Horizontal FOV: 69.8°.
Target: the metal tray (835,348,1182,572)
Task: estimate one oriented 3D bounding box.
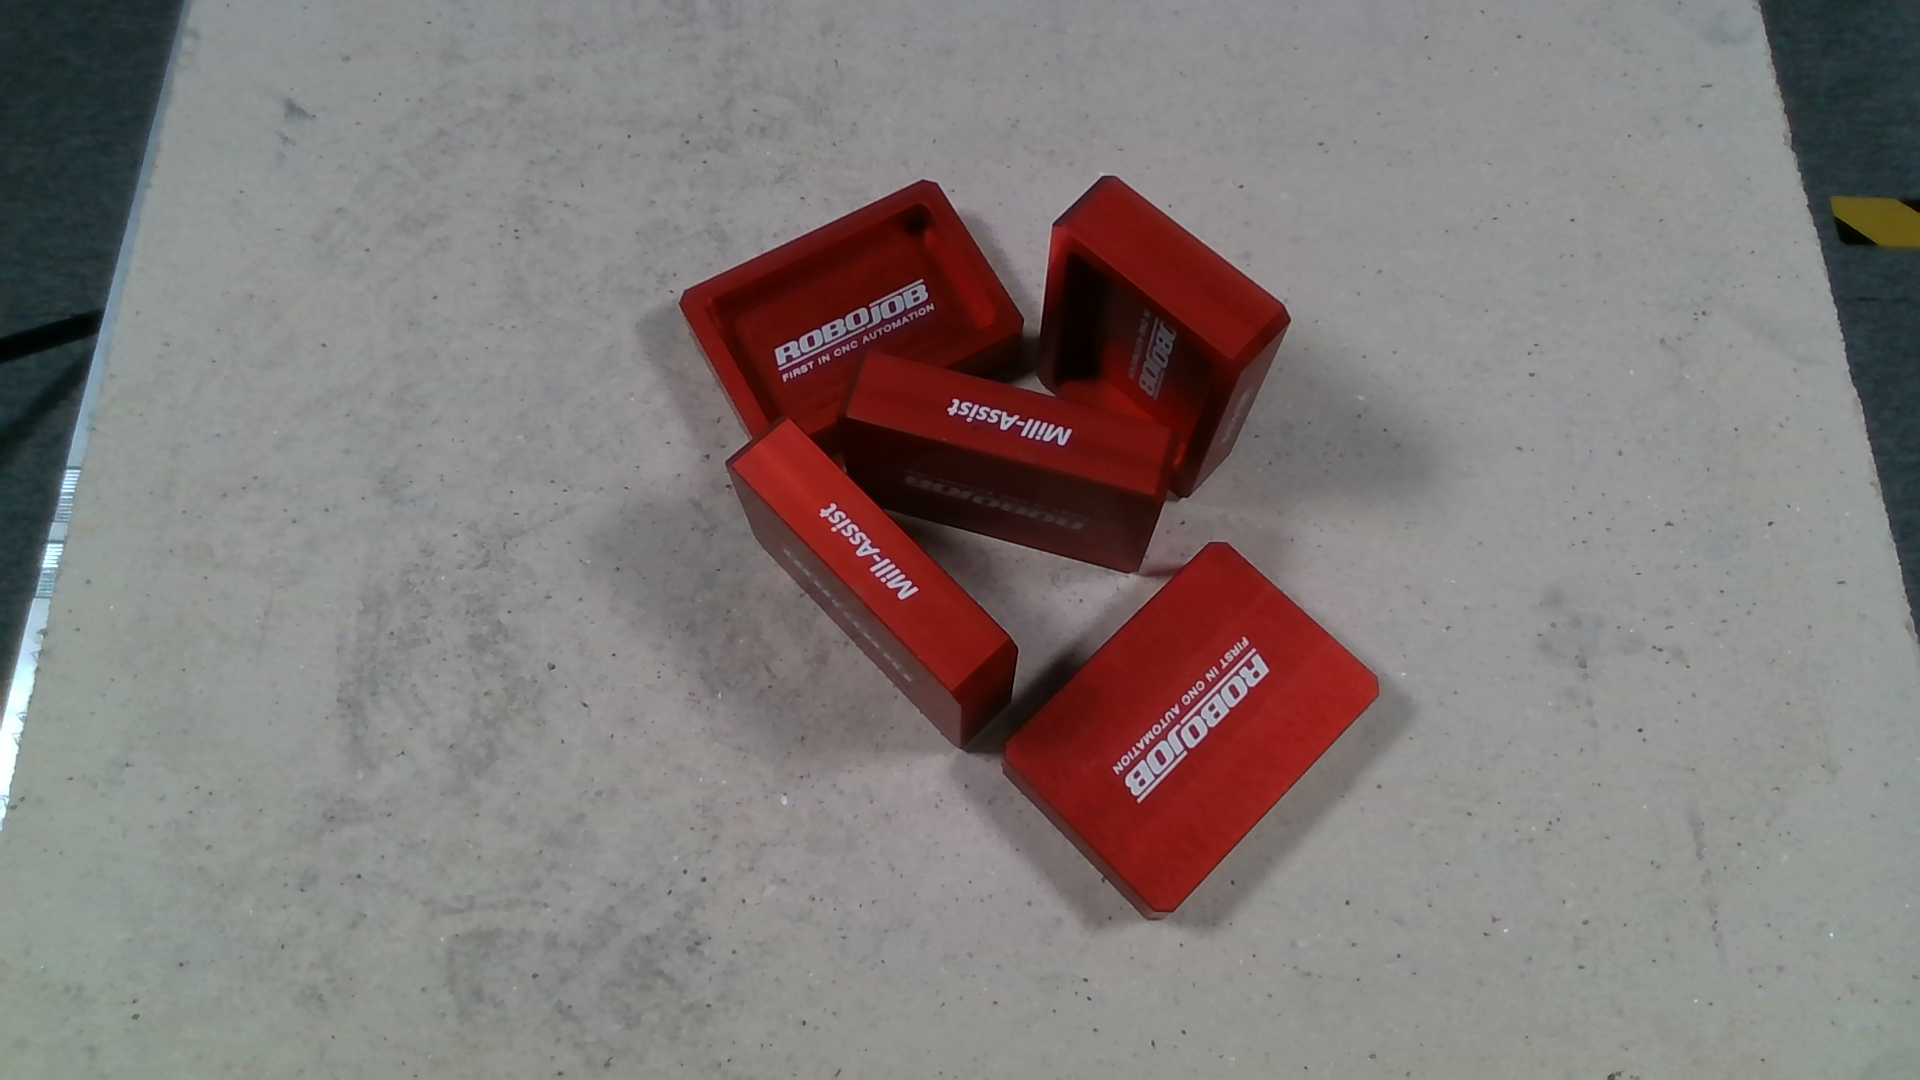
[{"bbox_3d":[0.018,-0.030,0.564,0.130,0.090,0.030,15,71,5],"label":"metal tray"}]

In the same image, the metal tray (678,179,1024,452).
[{"bbox_3d":[-0.048,-0.096,0.620,0.130,0.030,0.090,-27,73,-9],"label":"metal tray"}]

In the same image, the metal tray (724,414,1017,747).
[{"bbox_3d":[-0.034,0.019,0.547,0.030,0.090,0.130,-42,75,-14],"label":"metal tray"}]

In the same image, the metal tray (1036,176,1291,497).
[{"bbox_3d":[0.077,-0.078,0.560,0.090,0.130,0.030,41,75,13],"label":"metal tray"}]

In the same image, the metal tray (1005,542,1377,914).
[{"bbox_3d":[0.092,0.075,0.559,0.130,0.030,0.090,-43,76,-14],"label":"metal tray"}]
